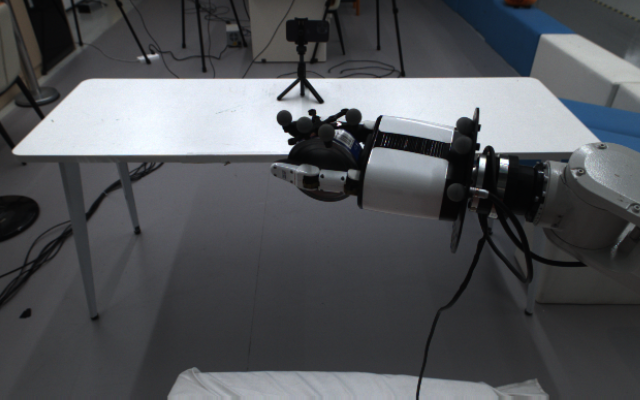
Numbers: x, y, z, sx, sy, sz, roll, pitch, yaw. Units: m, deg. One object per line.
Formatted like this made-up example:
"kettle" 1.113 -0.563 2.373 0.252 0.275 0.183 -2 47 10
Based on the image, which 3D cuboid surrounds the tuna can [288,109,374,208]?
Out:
"tuna can" 0.011 -0.038 0.554 0.085 0.085 0.034 11 39 13
